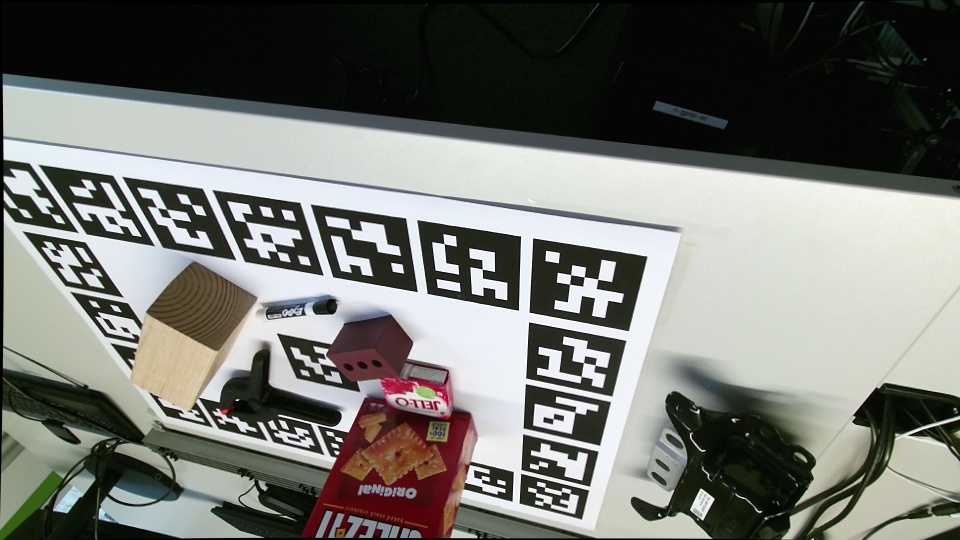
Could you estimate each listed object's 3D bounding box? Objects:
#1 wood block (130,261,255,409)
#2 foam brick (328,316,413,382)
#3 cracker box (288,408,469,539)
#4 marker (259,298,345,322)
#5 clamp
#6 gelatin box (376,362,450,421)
[{"bbox_3d":[-0.378,0.093,0.694,0.090,0.090,0.206,34,134,-14],"label":"wood block"},{"bbox_3d":[-0.130,0.095,0.634,0.078,0.051,0.053,-12,123,26],"label":"foam brick"},{"bbox_3d":[-0.123,0.290,0.684,0.165,0.213,0.072,7,132,15],"label":"cracker box"},{"bbox_3d":[-0.213,0.049,0.642,0.121,0.019,0.019,-8,124,24],"label":"marker"},{"bbox_3d":[-0.333,0.199,0.801,0.203,0.036,0.165,-18,121,30],"label":"clamp"},{"bbox_3d":[-0.086,0.155,0.689,0.089,0.030,0.073,8,129,12],"label":"gelatin box"}]
